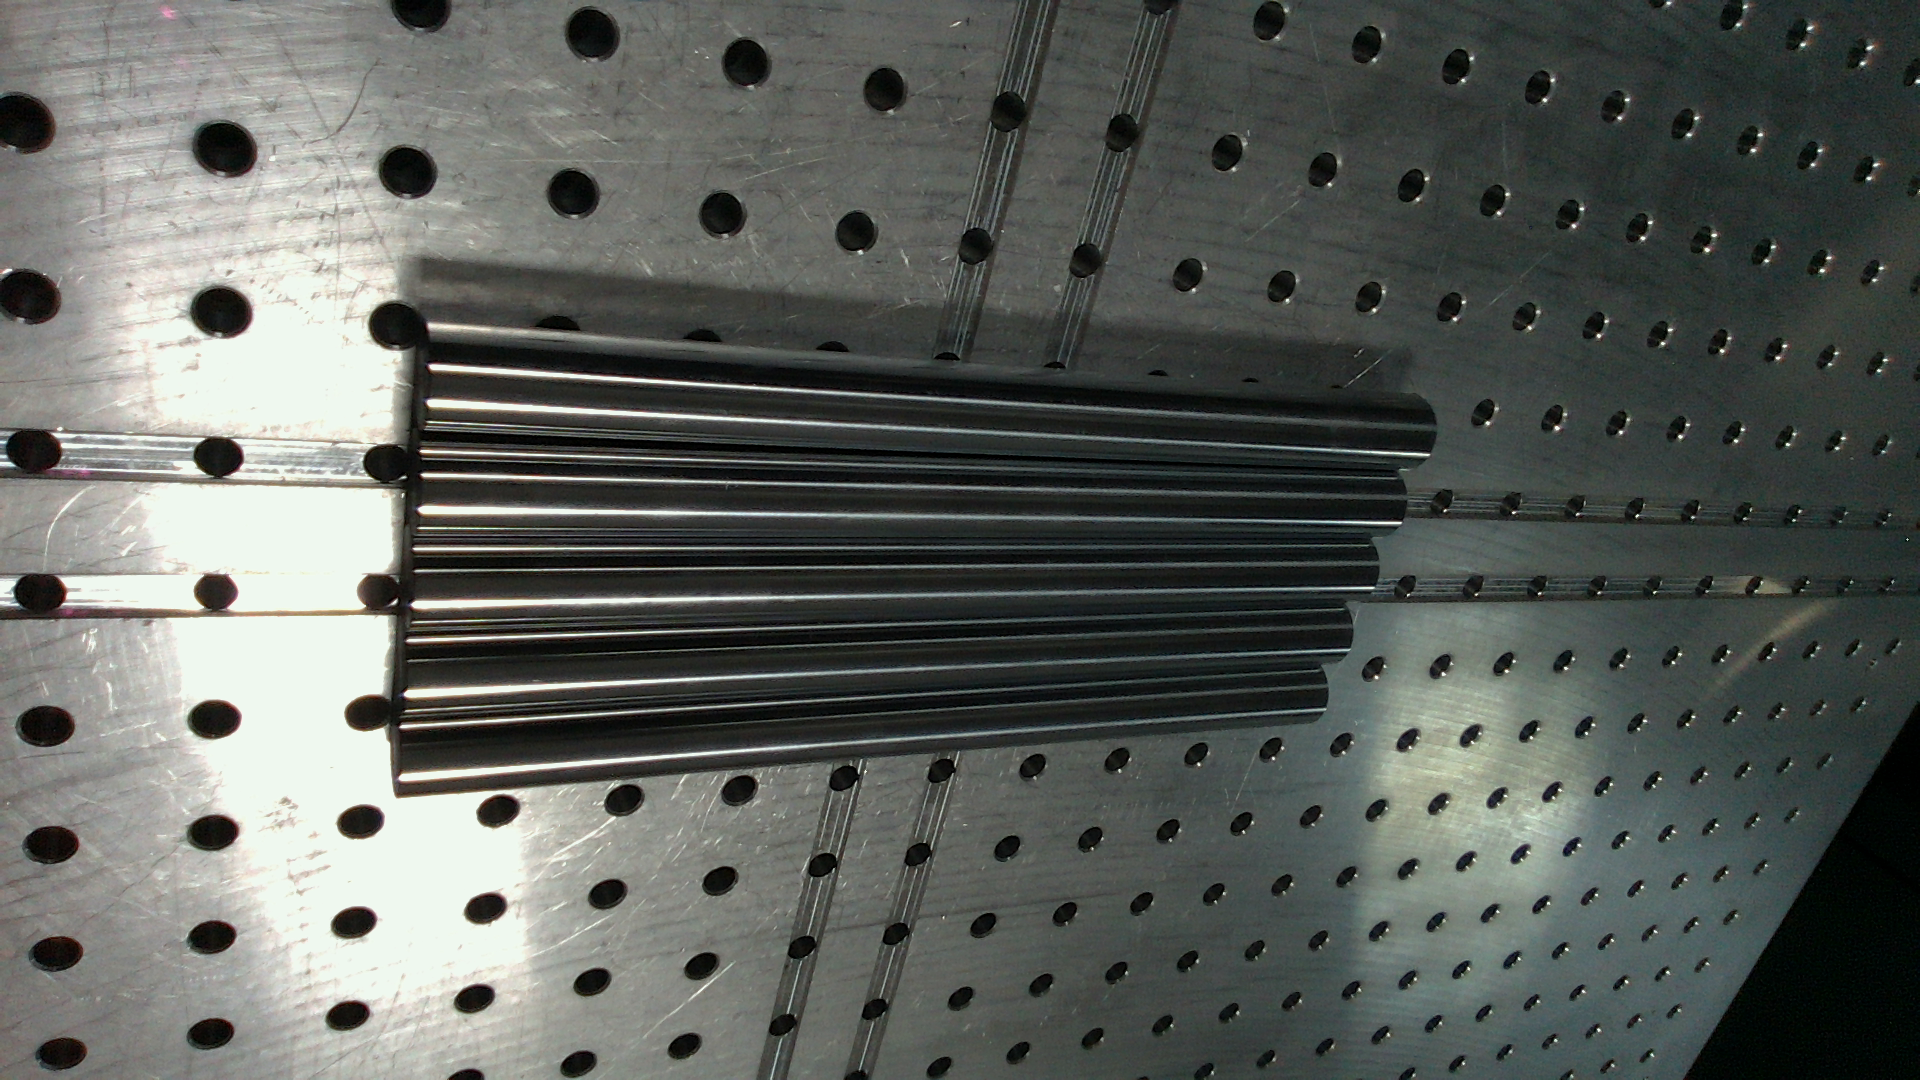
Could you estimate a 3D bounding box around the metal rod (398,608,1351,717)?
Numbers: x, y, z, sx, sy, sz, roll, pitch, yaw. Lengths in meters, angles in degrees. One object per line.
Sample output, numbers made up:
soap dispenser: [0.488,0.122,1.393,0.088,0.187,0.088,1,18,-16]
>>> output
metal rod: [-0.004,0.031,0.409,0.301,0.025,0.025,0,118,-29]

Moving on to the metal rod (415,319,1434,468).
metal rod: [0.013,-0.036,0.377,0.301,0.025,0.025,0,118,-29]

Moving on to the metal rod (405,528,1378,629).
metal rod: [0.002,0.009,0.398,0.301,0.025,0.025,0,118,-29]

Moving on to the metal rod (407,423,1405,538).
metal rod: [0.007,-0.014,0.387,0.301,0.025,0.025,0,118,-29]

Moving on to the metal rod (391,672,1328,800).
metal rod: [-0.010,0.052,0.419,0.301,0.025,0.025,0,119,-28]
